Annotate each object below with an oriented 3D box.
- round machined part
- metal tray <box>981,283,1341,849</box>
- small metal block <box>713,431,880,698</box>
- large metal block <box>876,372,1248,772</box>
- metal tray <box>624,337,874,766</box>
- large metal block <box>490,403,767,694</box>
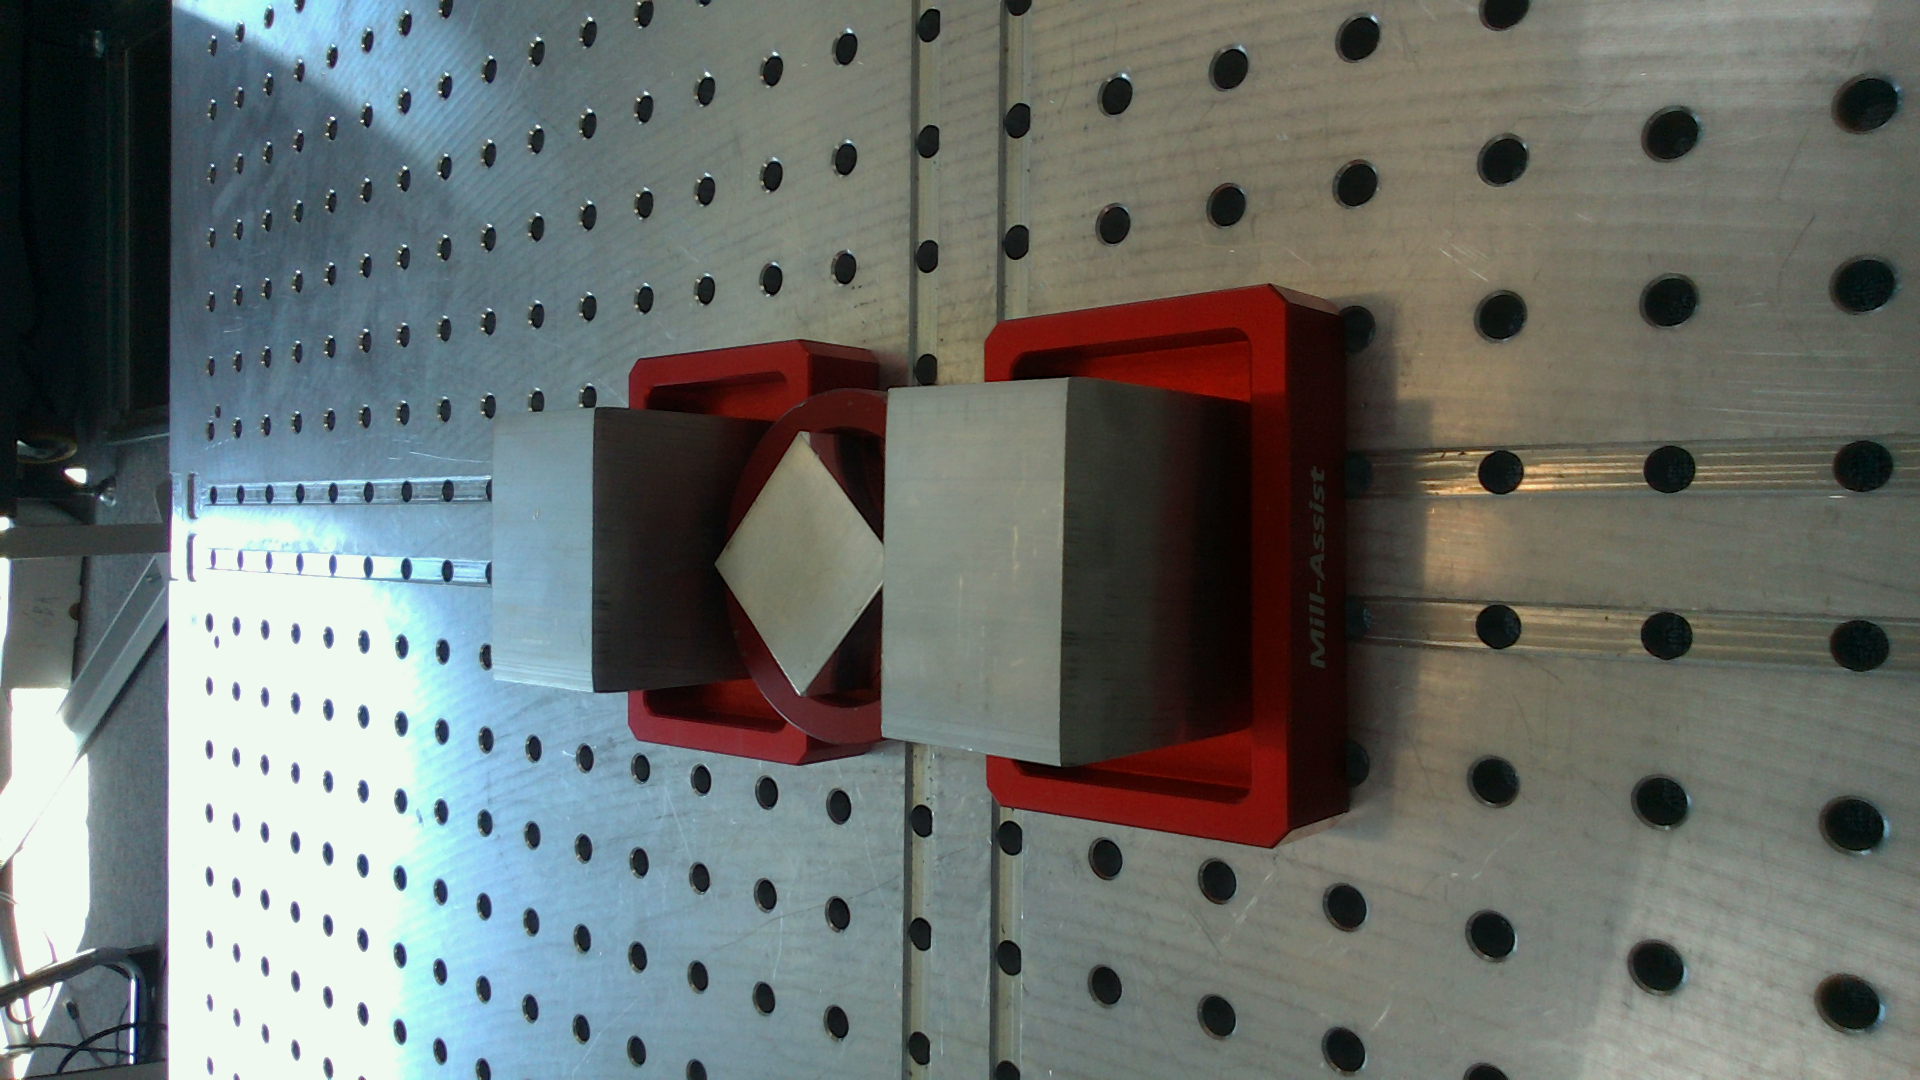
[{"bbox_3d":[-0.020,0.007,0.392,0.098,0.042,0.098,0,90,40],"label":"round machined part"},{"bbox_3d":[0.049,0.006,0.352,0.090,0.030,0.130,0,90,40],"label":"metal tray"},{"bbox_3d":[-0.034,0.007,0.373,0.050,0.025,0.050,52,121,27],"label":"small metal block"},{"bbox_3d":[0.027,0.006,0.322,0.050,0.080,0.080,2,91,40],"label":"large metal block"},{"bbox_3d":[-0.071,0.003,0.453,0.090,0.030,0.130,1,90,40],"label":"metal tray"},{"bbox_3d":[-0.095,0.002,0.424,0.050,0.080,0.080,1,91,40],"label":"large metal block"}]
